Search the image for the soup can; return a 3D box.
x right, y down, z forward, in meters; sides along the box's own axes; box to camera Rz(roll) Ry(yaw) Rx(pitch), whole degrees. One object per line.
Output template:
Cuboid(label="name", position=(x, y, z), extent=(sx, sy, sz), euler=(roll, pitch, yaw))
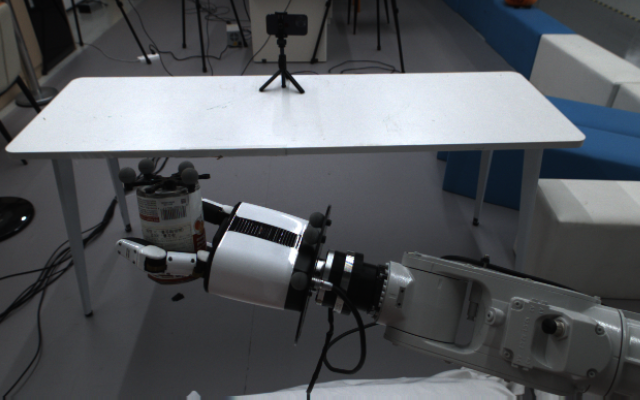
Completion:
Cuboid(label="soup can", position=(-0.159, 0.034, 0.531), extent=(0.067, 0.101, 0.067), euler=(-2, 17, 0))
